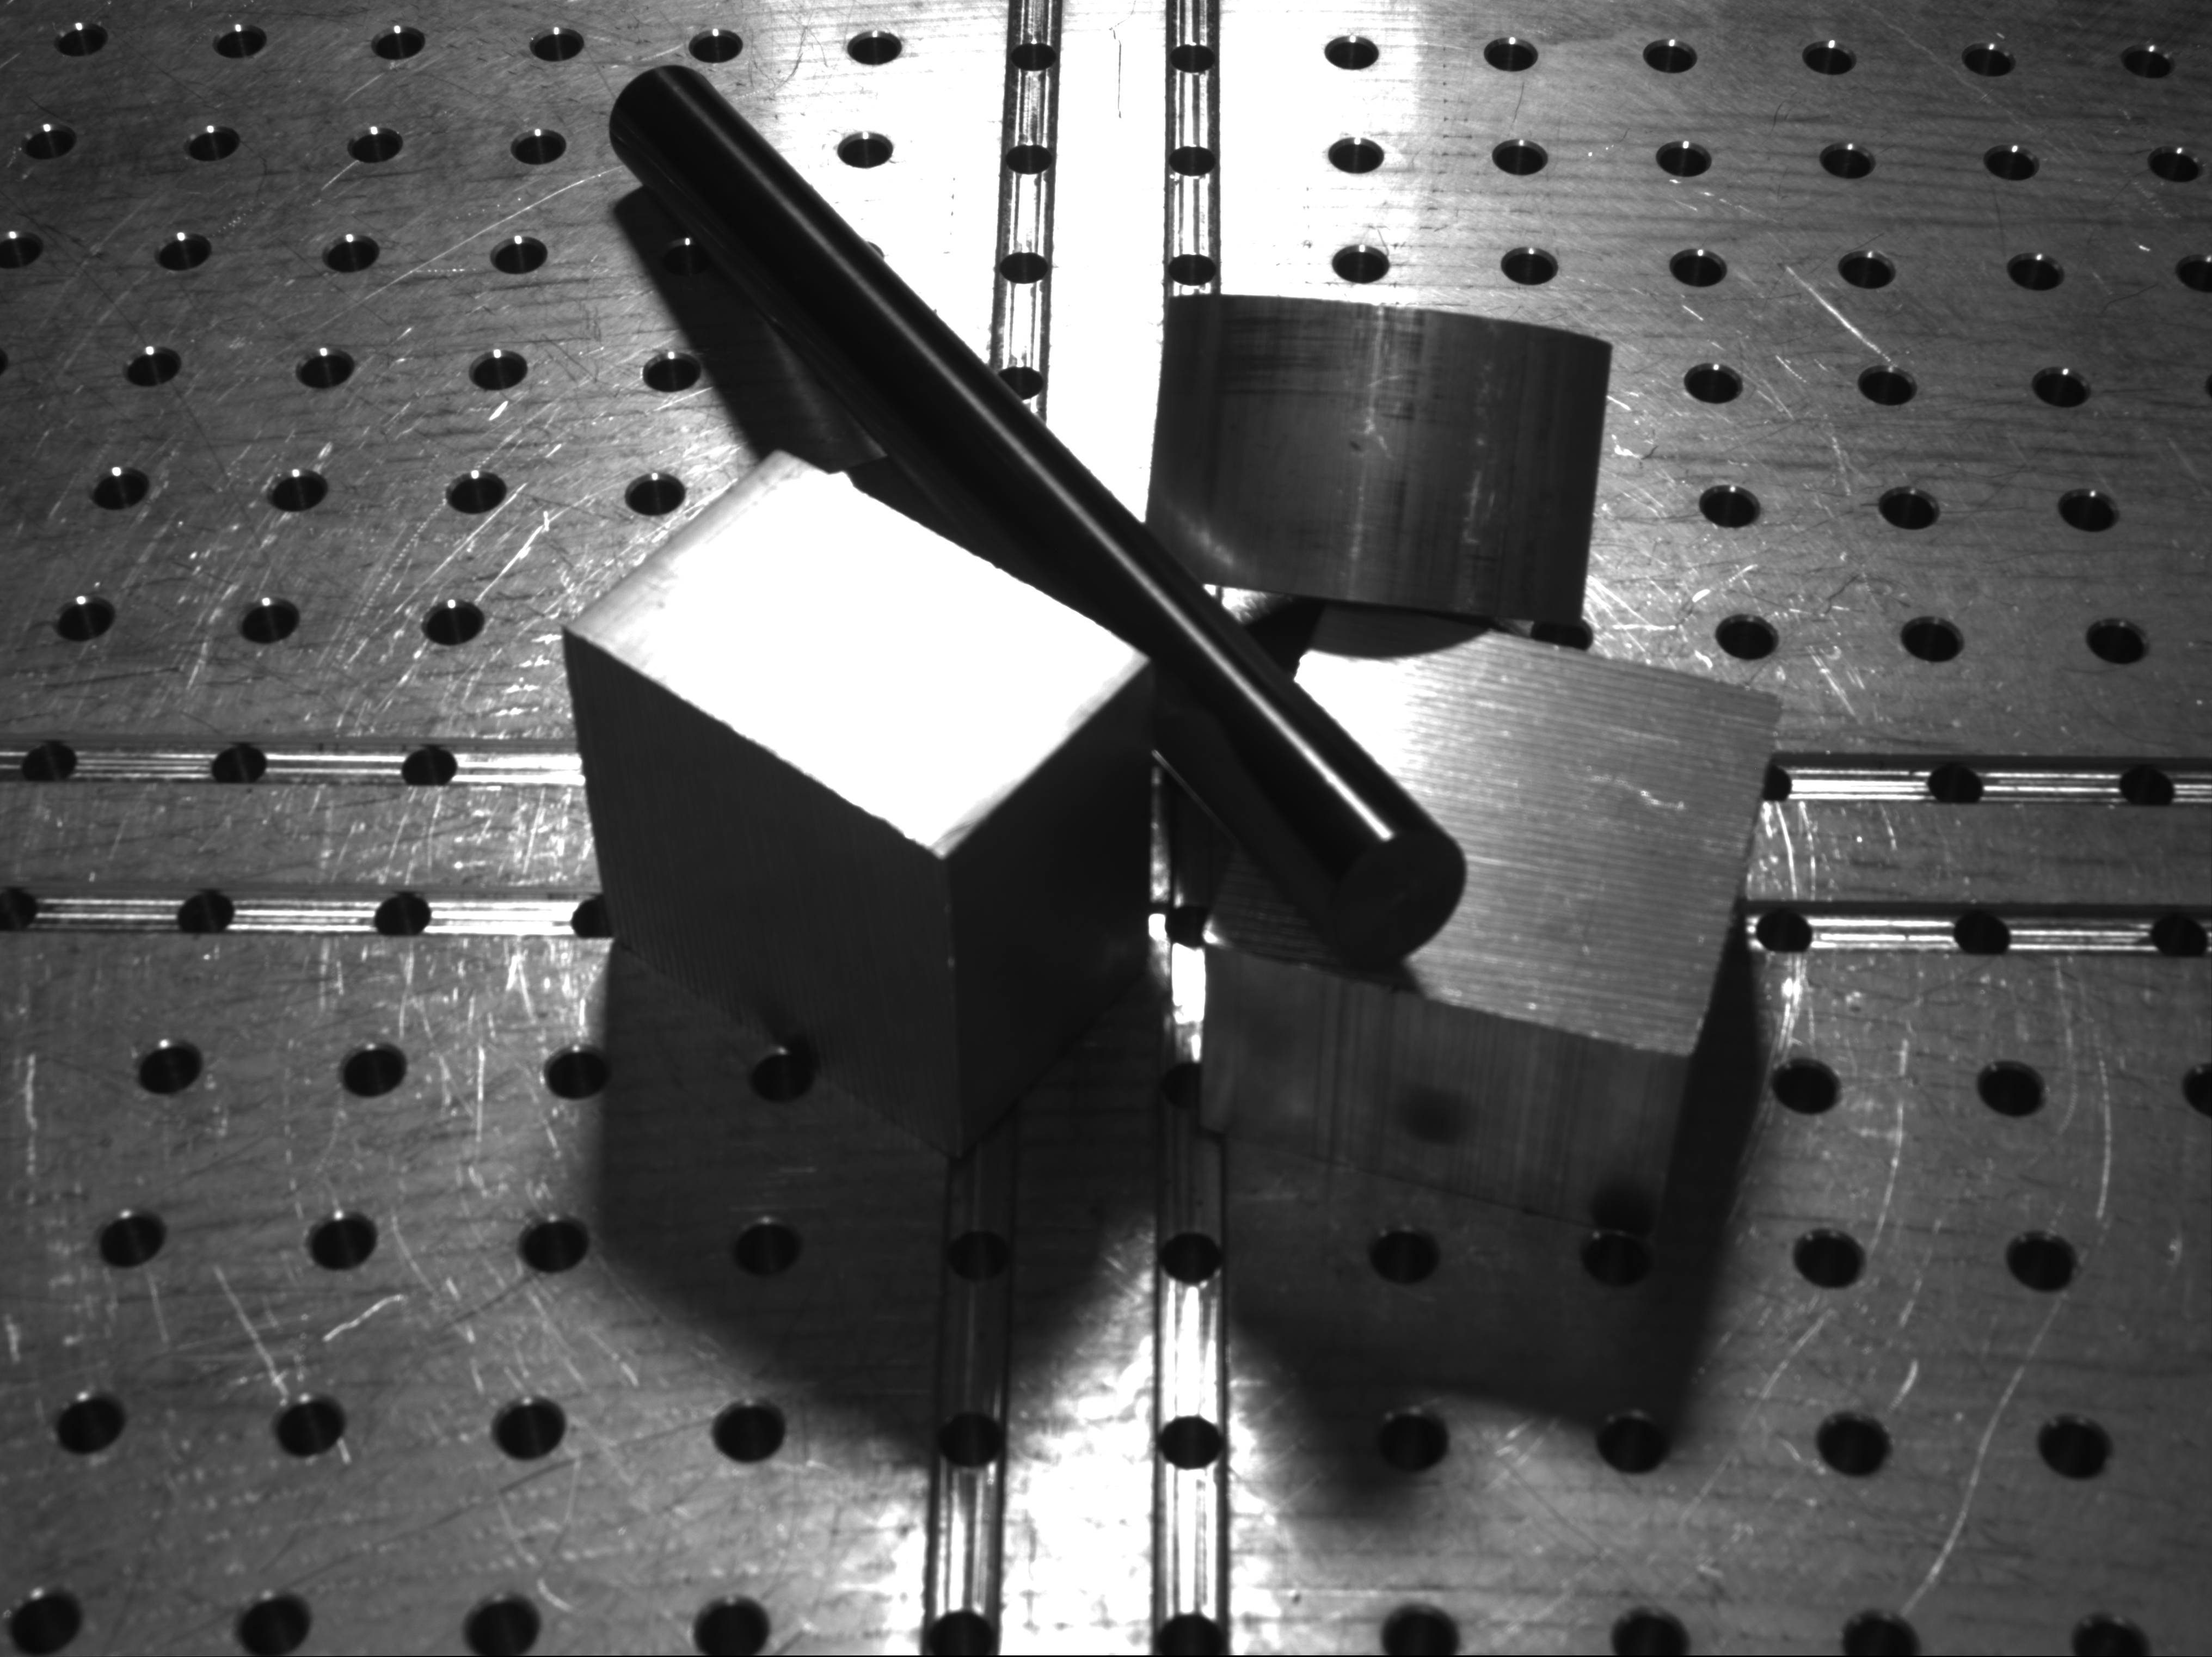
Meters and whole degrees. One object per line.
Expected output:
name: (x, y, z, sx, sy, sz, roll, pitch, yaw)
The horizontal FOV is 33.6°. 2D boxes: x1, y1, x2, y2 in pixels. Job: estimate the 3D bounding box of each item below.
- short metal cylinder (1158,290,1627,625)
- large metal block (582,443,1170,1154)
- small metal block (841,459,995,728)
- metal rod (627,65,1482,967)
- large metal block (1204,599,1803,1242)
short metal cylinder: (0.050, -0.066, 0.656, 0.080, 0.080, 0.050, 7, 94, 6)
large metal block: (-0.037, -0.005, 0.613, 0.080, 0.080, 0.050, 30, 56, 23)
small metal block: (-0.034, -0.043, 0.682, 0.050, 0.025, 0.050, -19, 52, -15)
metal rod: (-0.021, -0.069, 0.664, 0.025, 0.025, 0.299, -22, 42, -17)
large metal block: (0.067, 0.014, 0.616, 0.080, 0.050, 0.080, 14, 51, 11)
